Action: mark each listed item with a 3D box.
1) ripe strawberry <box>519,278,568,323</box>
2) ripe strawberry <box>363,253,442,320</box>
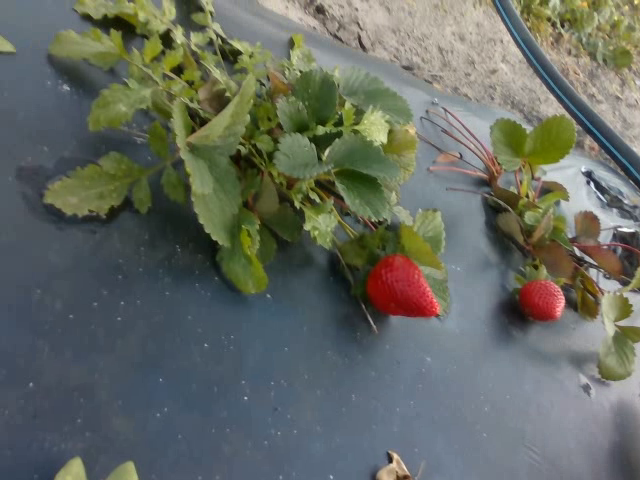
[{"bbox_3d":[0.170,0.050,0.467,0.041,0.045,0.052,-17,18,6],"label":"ripe strawberry"},{"bbox_3d":[0.052,0.033,0.365,0.051,0.046,0.050,50,-13,-31],"label":"ripe strawberry"}]
